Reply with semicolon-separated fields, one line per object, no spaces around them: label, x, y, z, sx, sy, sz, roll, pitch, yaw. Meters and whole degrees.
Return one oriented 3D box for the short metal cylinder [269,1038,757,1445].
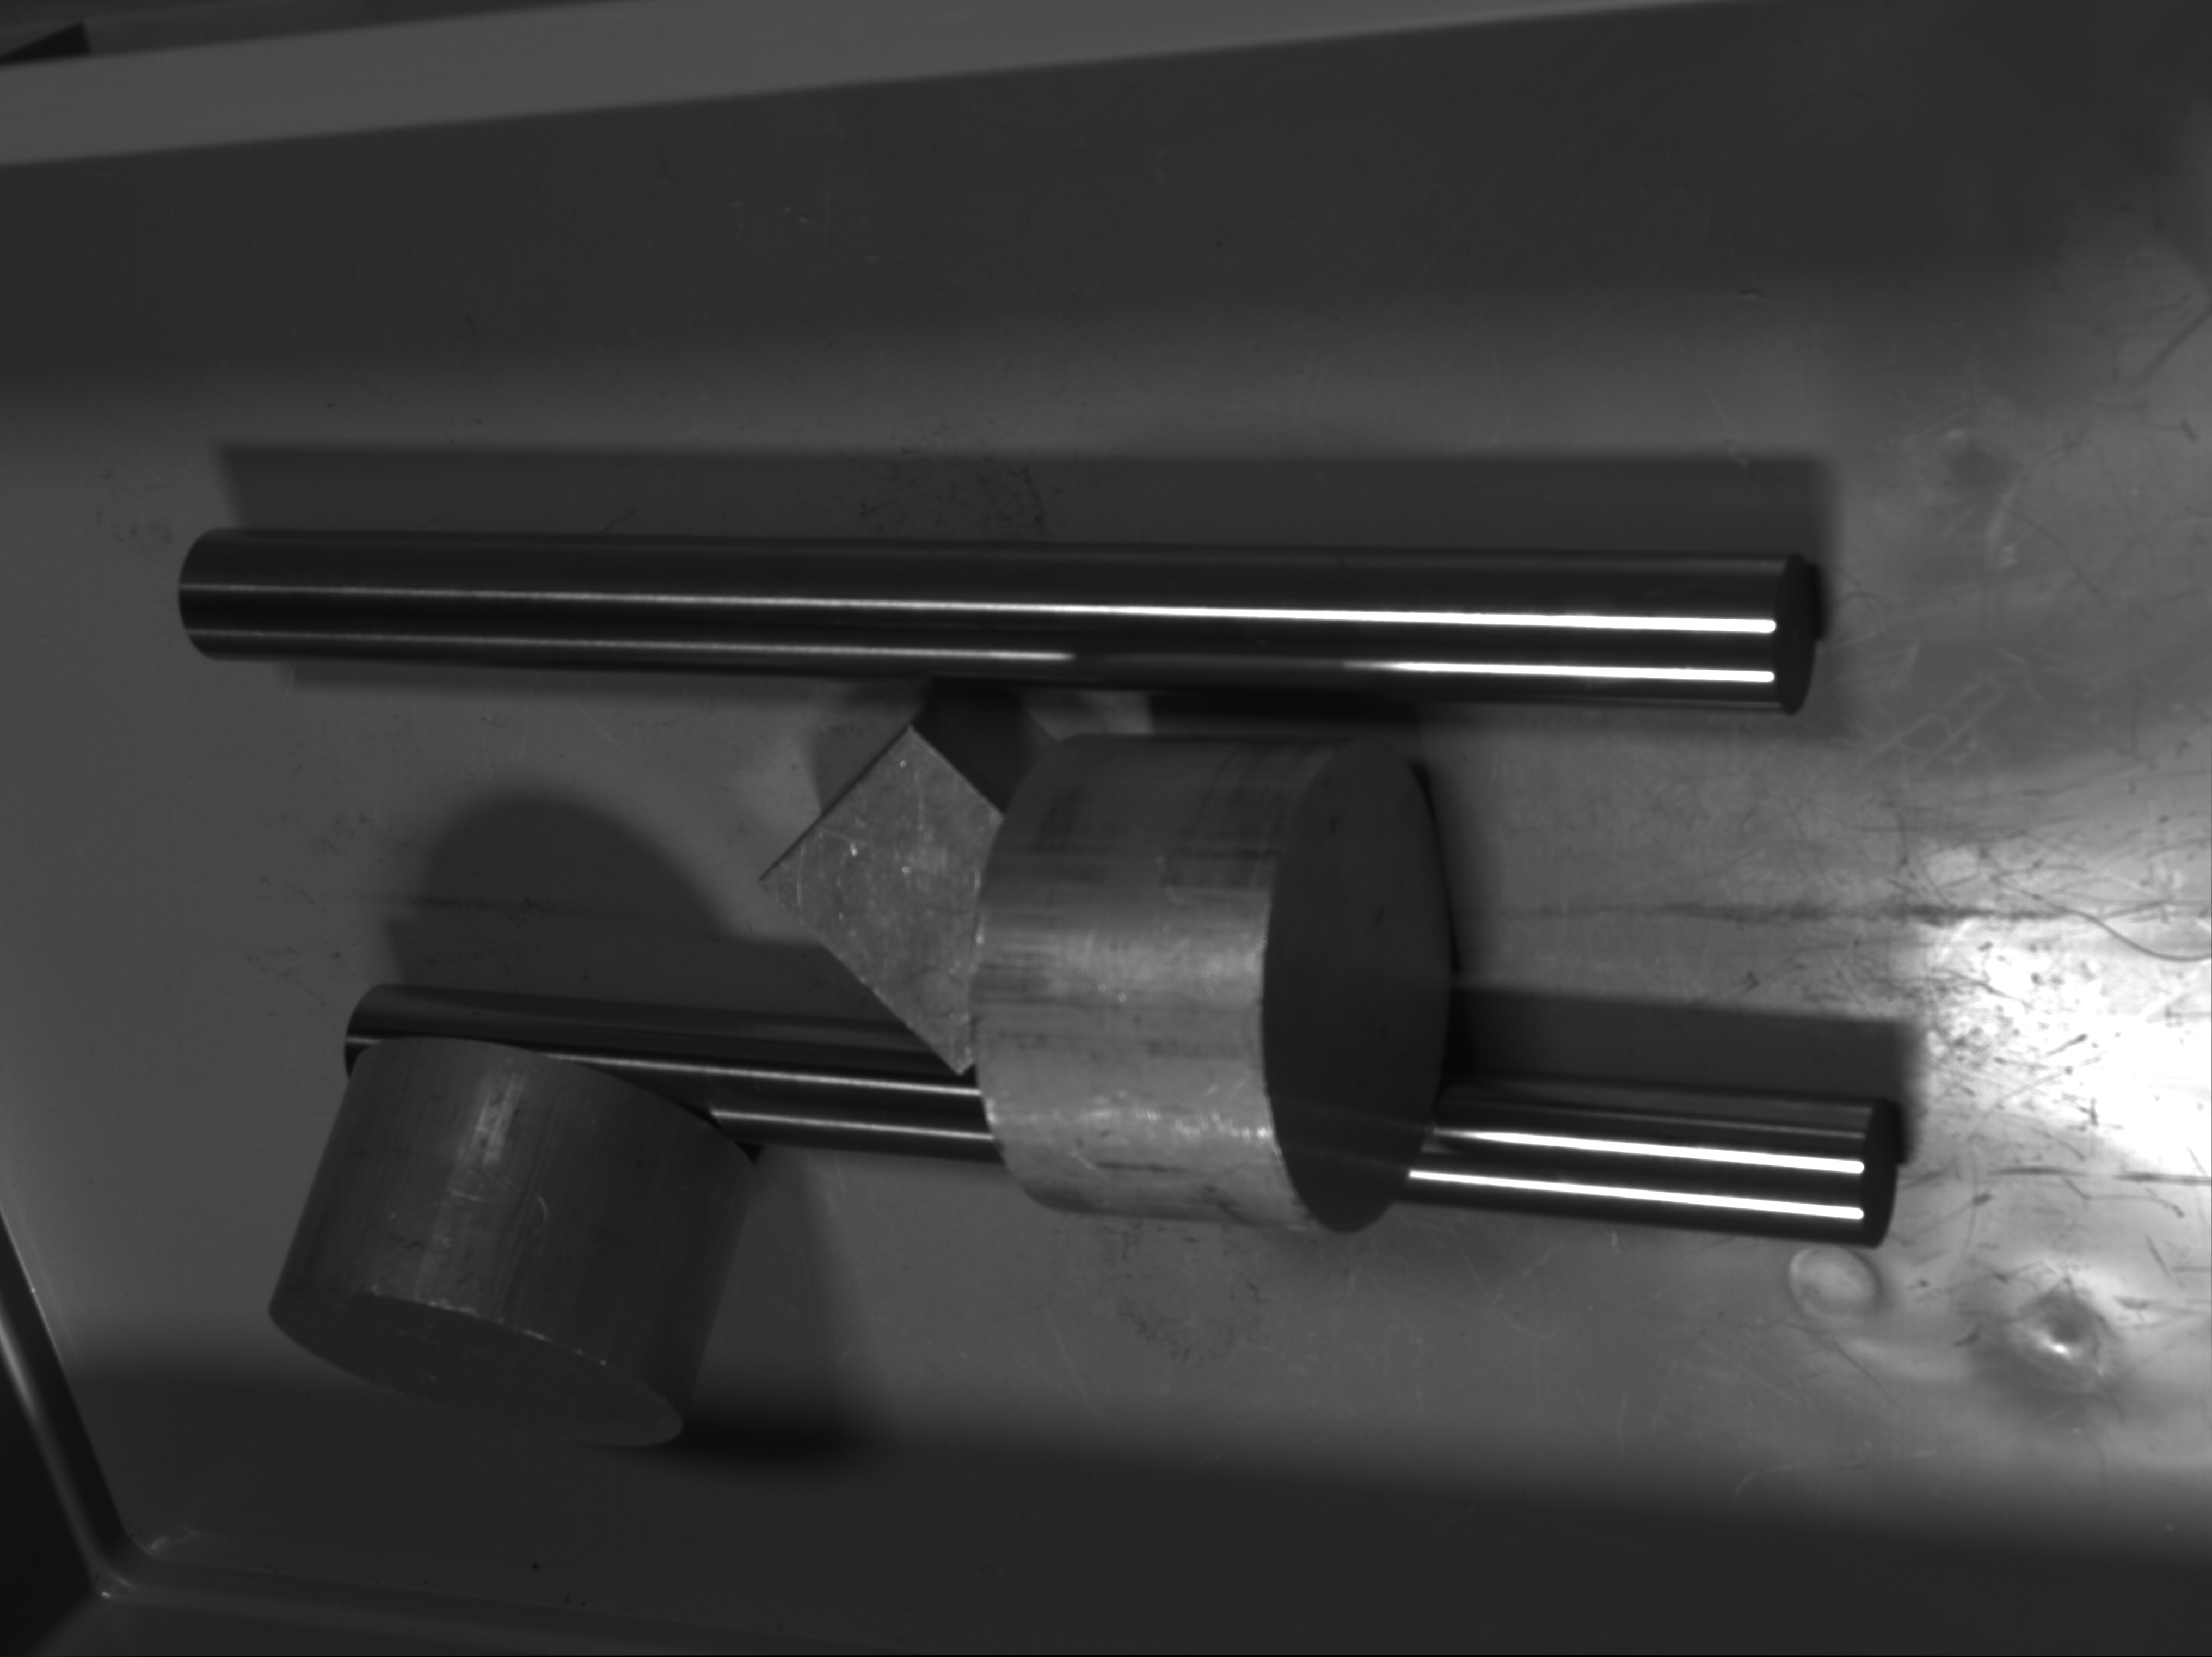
short metal cylinder;-0.112;0.079;0.695;0.080;0.050;0.080;12;156;6

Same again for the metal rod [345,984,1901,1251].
metal rod;-0.008;0.050;0.663;0.299;0.025;0.025;3;119;25

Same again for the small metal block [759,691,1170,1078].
small metal block;-0.024;0.008;0.646;0.050;0.025;0.050;44;128;-3

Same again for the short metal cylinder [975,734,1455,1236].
short metal cylinder;0.019;0.025;0.600;0.050;0.080;0.080;2;119;26

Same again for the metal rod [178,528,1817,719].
metal rod;-0.030;-0.037;0.622;0.299;0.025;0.025;3;120;25
